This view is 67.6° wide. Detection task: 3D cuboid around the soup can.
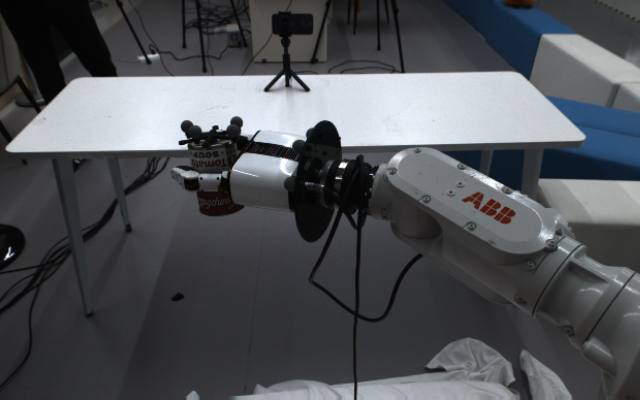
[{"bbox_3d":[-0.143,-0.036,0.679,0.067,0.101,0.067,-4,26,2],"label":"soup can"}]
